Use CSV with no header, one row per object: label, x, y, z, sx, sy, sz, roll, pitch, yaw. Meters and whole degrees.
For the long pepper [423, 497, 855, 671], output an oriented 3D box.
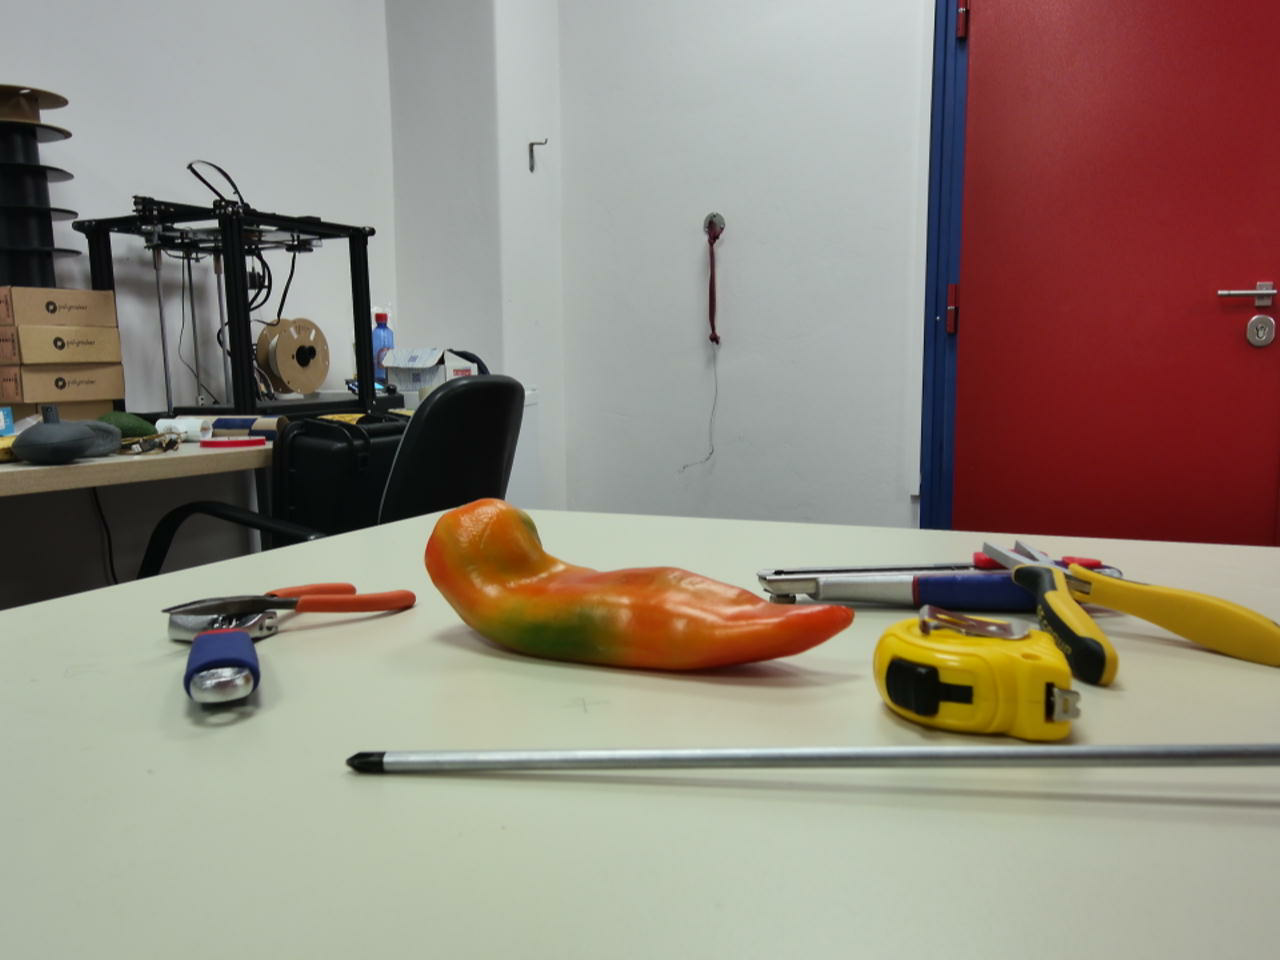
long pepper,-0.008,0.044,0.430,0.199,0.065,0.066,3,4,30
